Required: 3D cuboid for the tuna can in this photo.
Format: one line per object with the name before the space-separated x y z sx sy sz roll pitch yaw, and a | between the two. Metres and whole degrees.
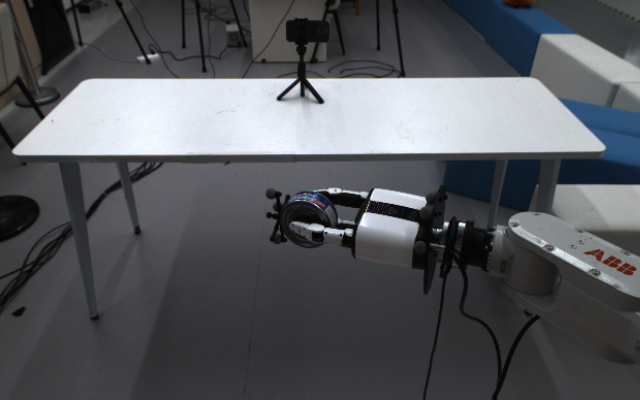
tuna can | -0.016 0.029 0.746 0.085 0.085 0.034 12 28 14
